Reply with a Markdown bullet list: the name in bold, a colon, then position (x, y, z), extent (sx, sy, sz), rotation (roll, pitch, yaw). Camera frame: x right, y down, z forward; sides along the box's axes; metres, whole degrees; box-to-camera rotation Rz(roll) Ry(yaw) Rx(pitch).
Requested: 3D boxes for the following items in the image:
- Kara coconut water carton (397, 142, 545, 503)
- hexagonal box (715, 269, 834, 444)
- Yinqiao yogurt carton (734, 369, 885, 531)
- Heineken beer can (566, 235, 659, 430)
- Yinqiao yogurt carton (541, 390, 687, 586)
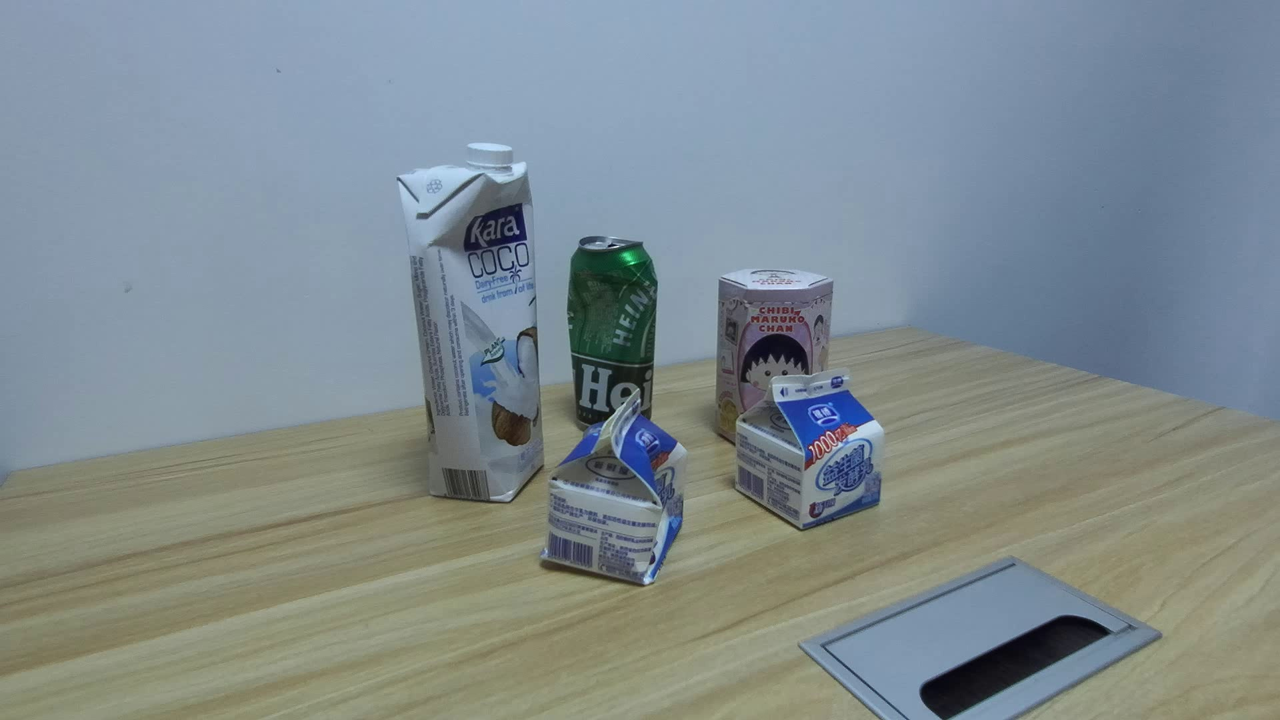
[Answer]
- **Kara coconut water carton**: position (-0.112, -0.024, 0.491), extent (0.069, 0.238, 0.115), rotation (5, 17, 14)
- **hexagonal box**: position (0.108, -0.001, 0.576), extent (0.091, 0.136, 0.084), rotation (1, 16, 5)
- **Yinqiao yogurt carton**: position (0.115, 0.051, 0.478), extent (0.076, 0.092, 0.073), rotation (-9, 18, -29)
- **Heineken beer can**: position (-0.024, -0.020, 0.602), extent (0.066, 0.164, 0.077), rotation (-5, 19, -14)
- **Yinqiao yogurt carton**: position (-0.014, 0.070, 0.418), extent (0.071, 0.094, 0.077), rotation (8, 19, 15)
